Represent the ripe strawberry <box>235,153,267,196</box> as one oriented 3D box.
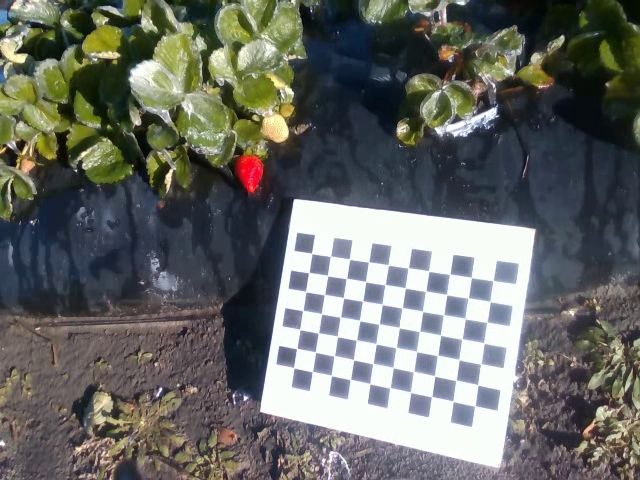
[{"bbox_3d":[-0.093,-0.087,0.724,0.041,0.052,0.040,-9,-15,11],"label":"ripe strawberry"}]
